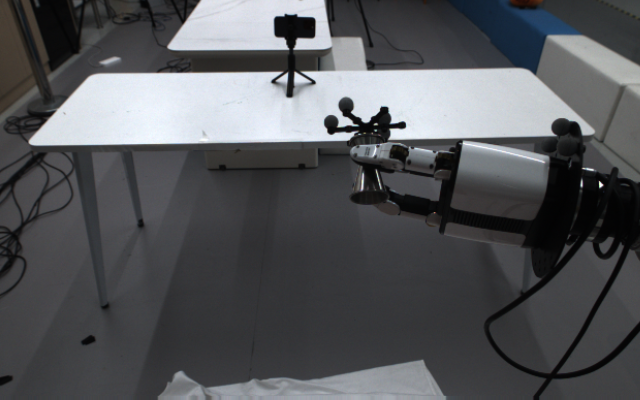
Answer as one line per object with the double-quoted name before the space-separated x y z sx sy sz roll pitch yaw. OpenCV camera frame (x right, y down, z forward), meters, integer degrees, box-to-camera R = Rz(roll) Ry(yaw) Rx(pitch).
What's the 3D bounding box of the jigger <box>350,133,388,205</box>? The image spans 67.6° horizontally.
"jigger" 0.053 -0.035 0.529 0.043 0.043 0.071 1 70 -2
